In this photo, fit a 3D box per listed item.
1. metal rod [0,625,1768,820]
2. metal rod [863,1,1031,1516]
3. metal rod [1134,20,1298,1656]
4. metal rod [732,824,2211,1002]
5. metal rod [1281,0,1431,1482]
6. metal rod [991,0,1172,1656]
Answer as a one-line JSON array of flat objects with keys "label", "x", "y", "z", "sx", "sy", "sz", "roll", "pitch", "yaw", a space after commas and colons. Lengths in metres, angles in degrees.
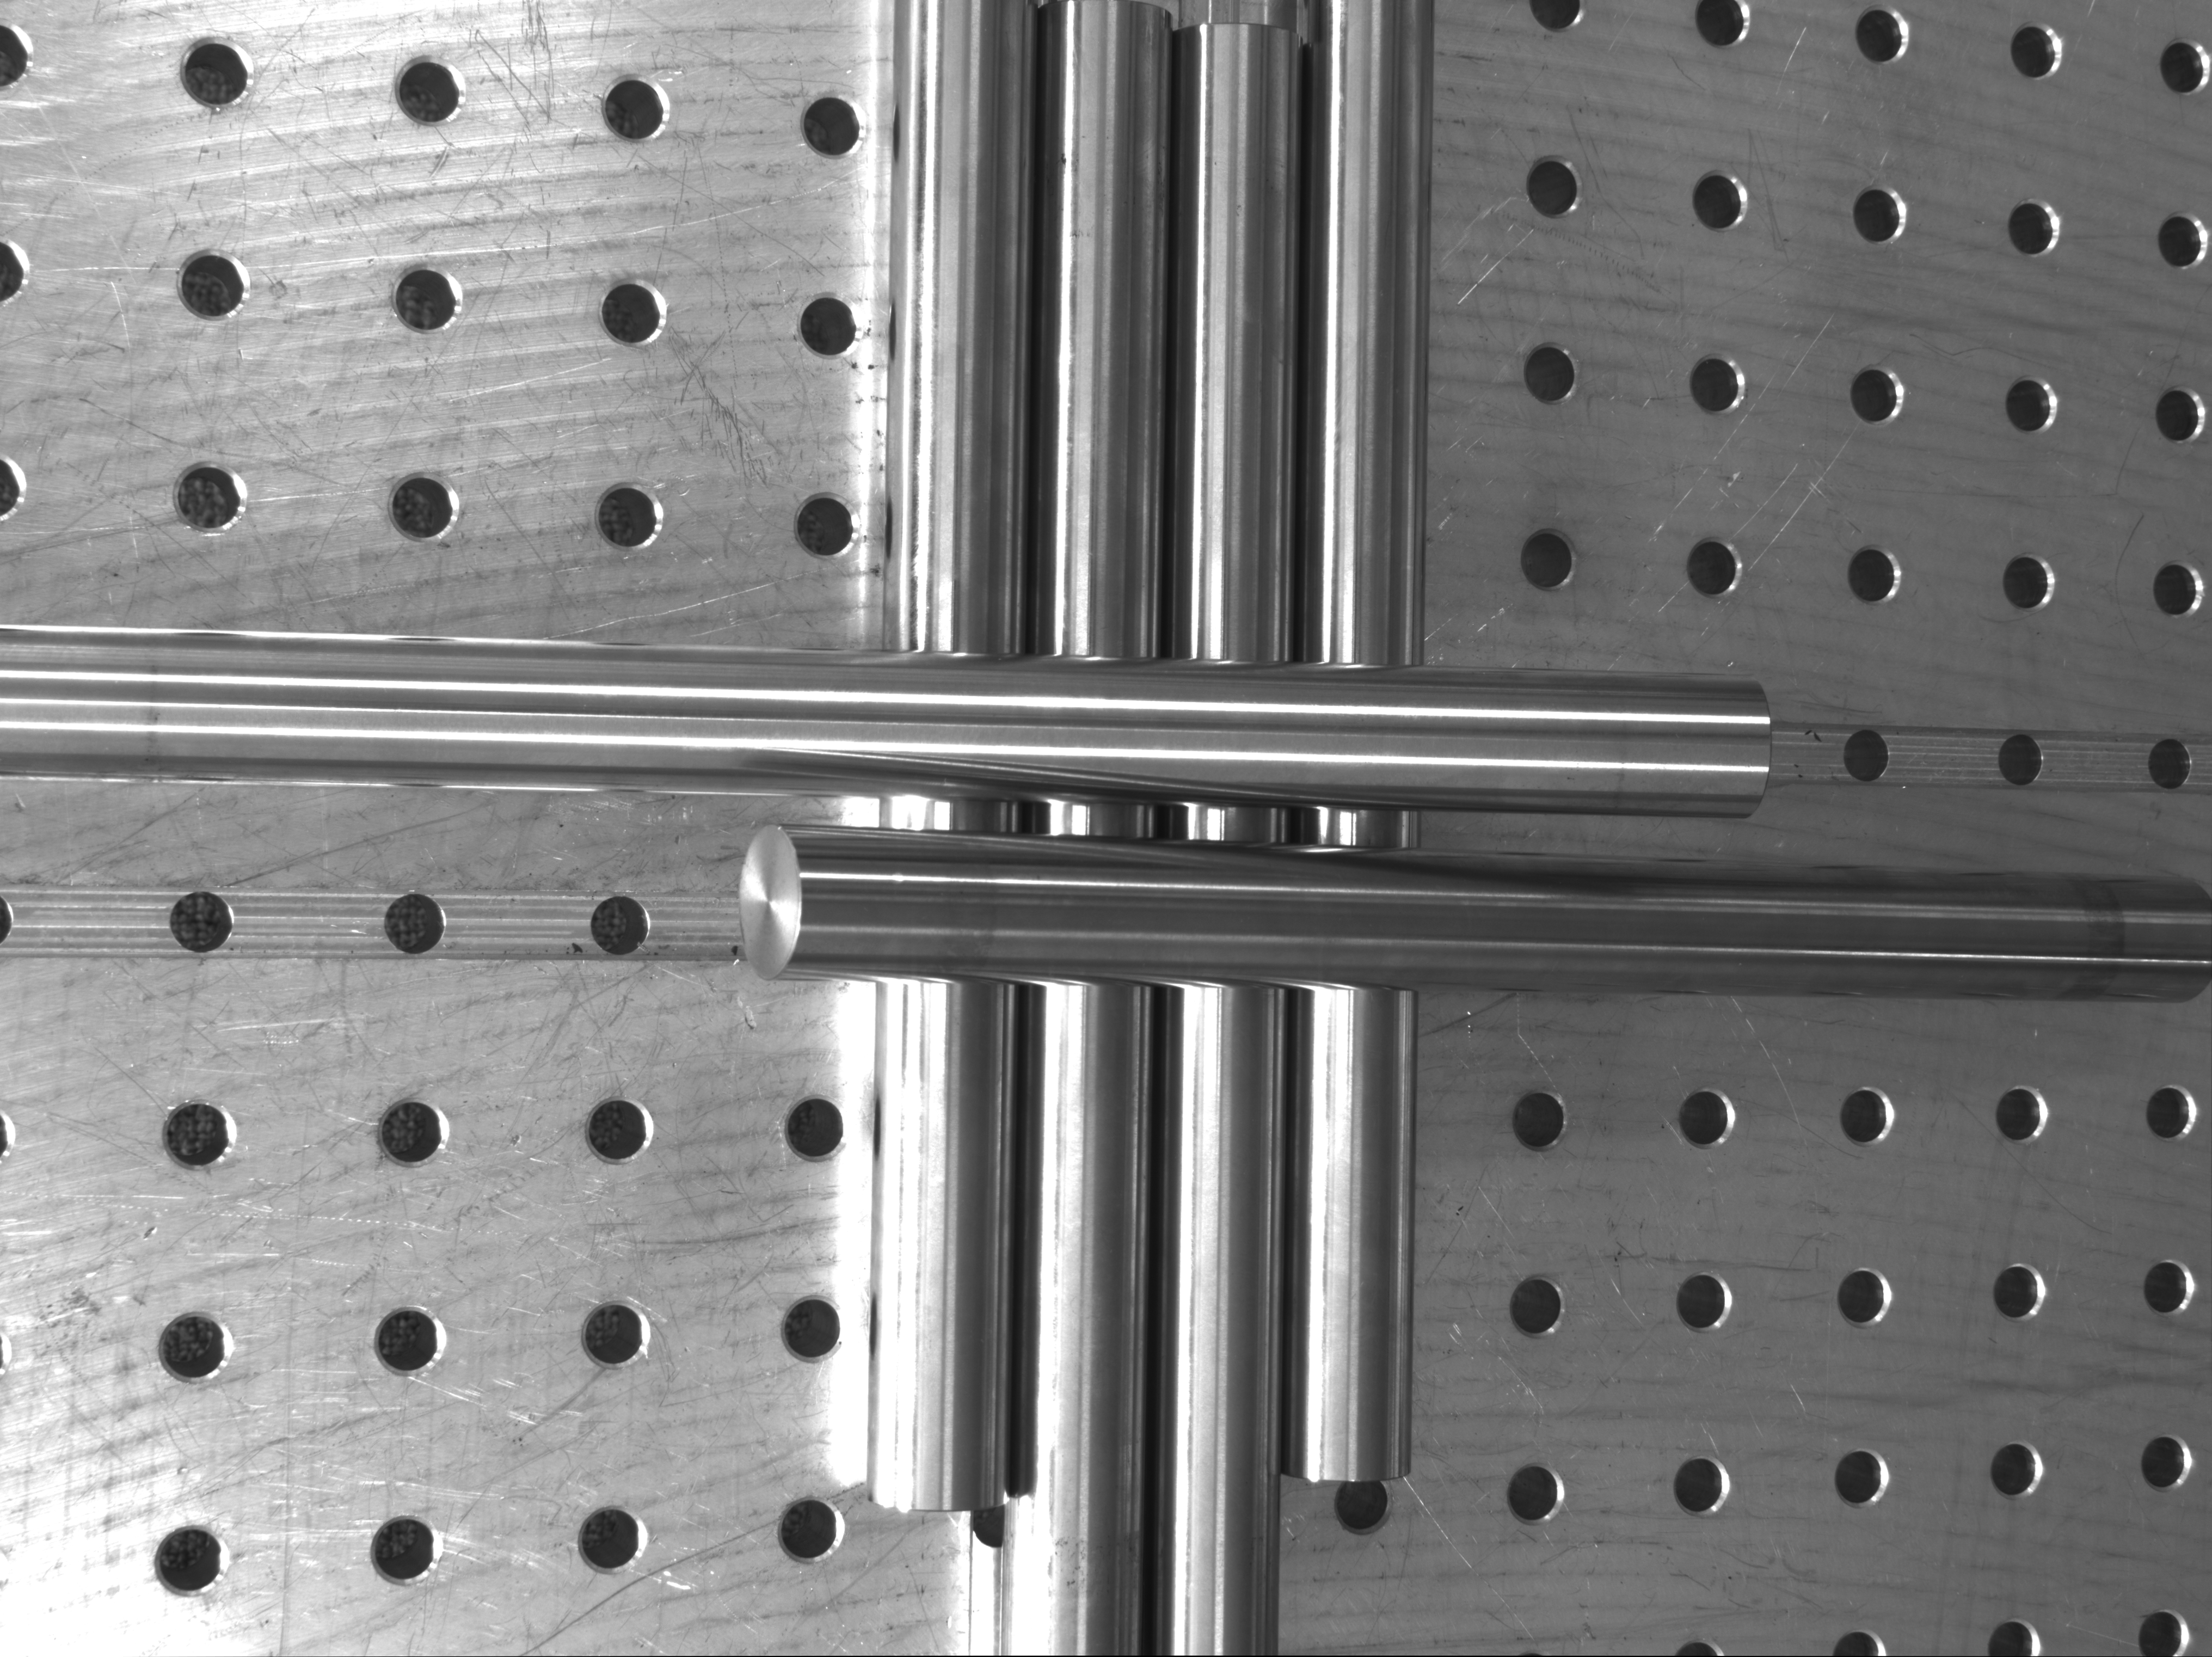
[{"label": "metal rod", "x": -0.037, "y": -0.017, "z": 0.608, "sx": 0.300, "sy": 0.025, "sz": 0.025, "roll": 1, "pitch": 90, "yaw": -11}, {"label": "metal rod", "x": -0.027, "y": -0.034, "z": 0.635, "sx": 0.025, "sy": 0.025, "sz": 0.300, "roll": 1, "pitch": 89, "yaw": -20}, {"label": "metal rod", "x": 0.019, "y": 0.009, "z": 0.654, "sx": 0.025, "sy": 0.025, "sz": 0.300, "roll": 1, "pitch": 90, "yaw": -20}, {"label": "metal rod", "x": 0.078, "y": 0.017, "z": 0.652, "sx": 0.301, "sy": 0.025, "sz": 0.025, "roll": 2, "pitch": 89, "yaw": -28}, {"label": "metal rod", "x": 0.044, "y": -0.035, "z": 0.661, "sx": 0.025, "sy": 0.025, "sz": 0.300, "roll": 1, "pitch": 89, "yaw": -20}, {"label": "metal rod", "x": -0.004, "y": 0.007, "z": 0.643, "sx": 0.025, "sy": 0.025, "sz": 0.300, "roll": 2, "pitch": 89, "yaw": -20}]
